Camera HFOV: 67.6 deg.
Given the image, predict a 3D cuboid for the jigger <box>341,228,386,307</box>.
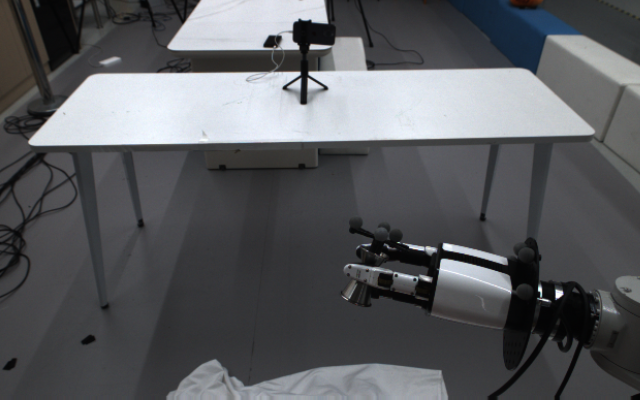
[{"bbox_3d":[0.056,0.095,0.616,0.043,0.071,0.043,22,6,-2],"label":"jigger"}]
